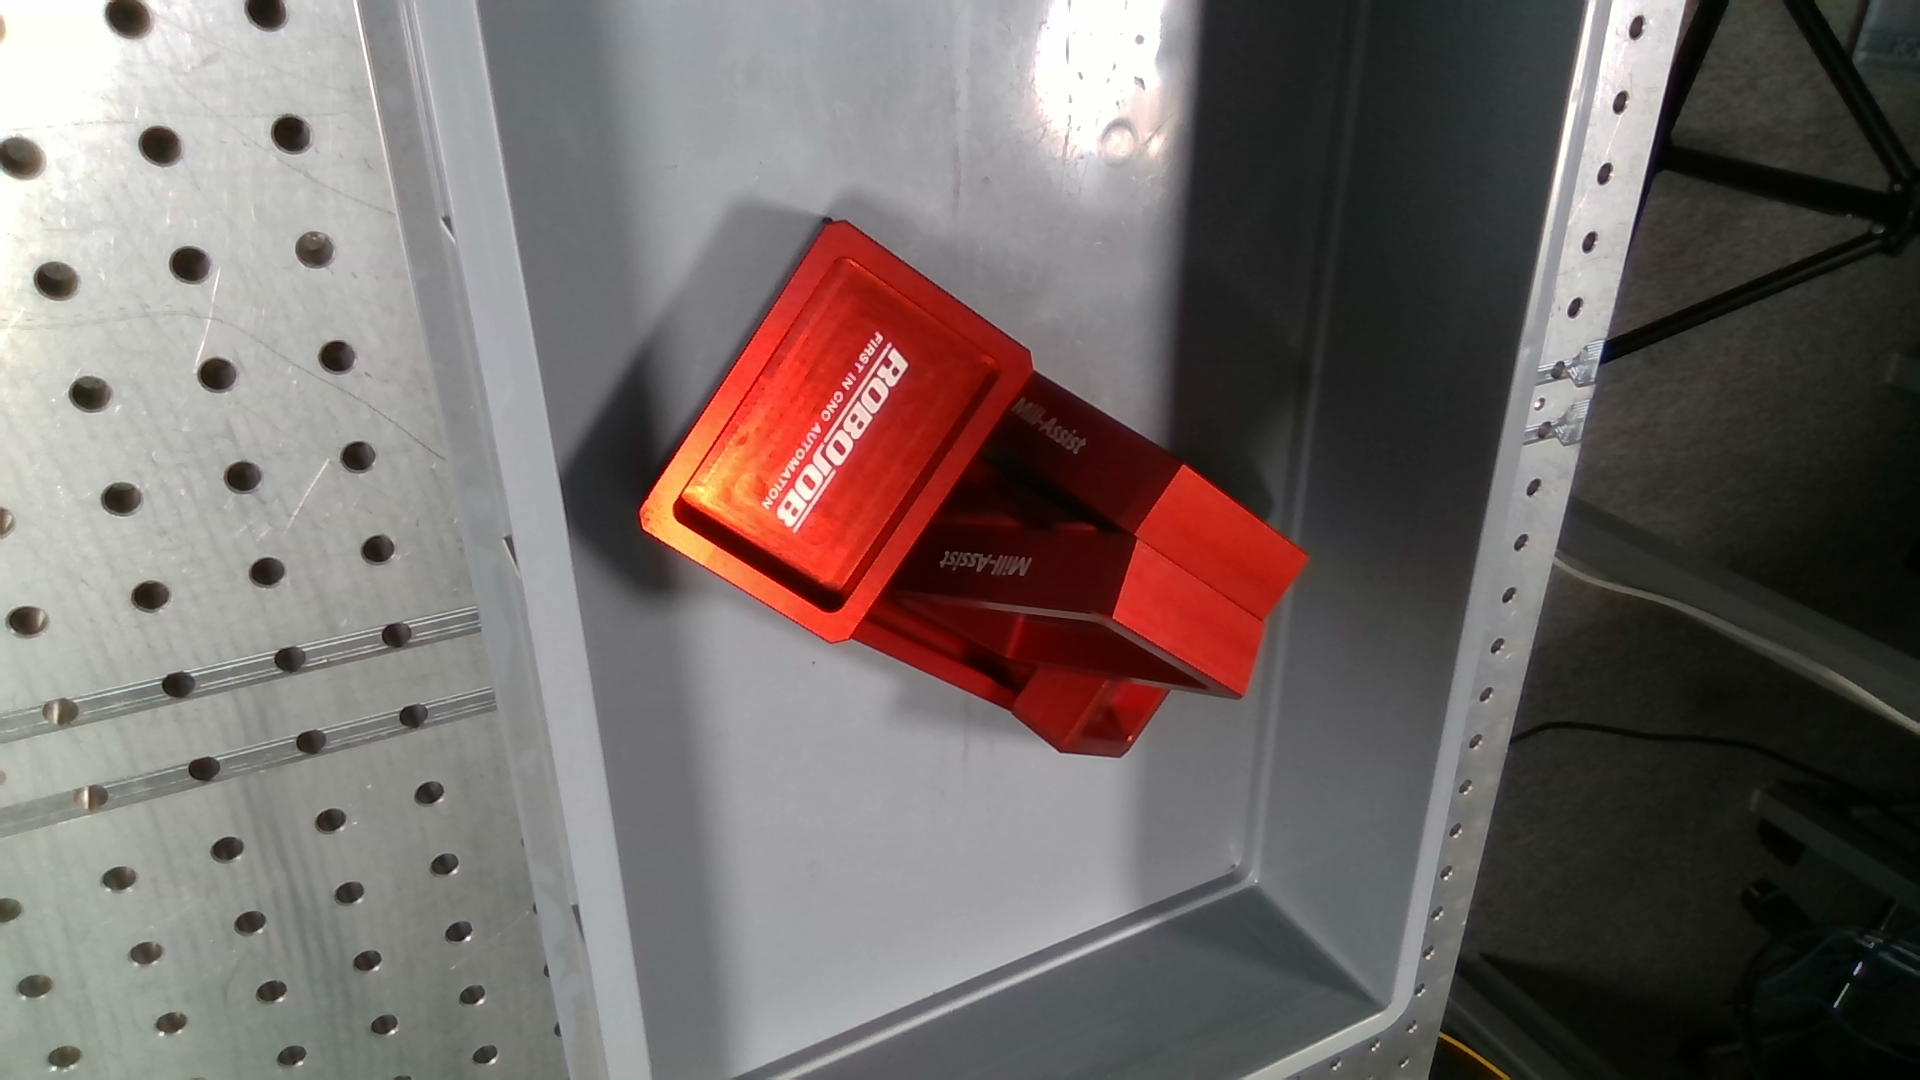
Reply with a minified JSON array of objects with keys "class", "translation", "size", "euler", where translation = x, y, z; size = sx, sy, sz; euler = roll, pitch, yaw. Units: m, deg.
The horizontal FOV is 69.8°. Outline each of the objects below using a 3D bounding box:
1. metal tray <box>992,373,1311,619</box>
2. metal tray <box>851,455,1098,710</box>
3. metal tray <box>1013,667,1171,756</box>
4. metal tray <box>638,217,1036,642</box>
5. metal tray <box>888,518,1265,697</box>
[{"class":"metal tray","translation":[0.064,-0.024,0.536],"size":[0.090,0.130,0.030],"euler":[30,96,-39]},{"class":"metal tray","translation":[0.001,0.012,0.582],"size":[0.130,0.030,0.090],"euler":[29,98,-39]},{"class":"metal tray","translation":[0.086,0.037,0.626],"size":[0.130,0.030,0.090],"euler":[-56,154,6]},{"class":"metal tray","translation":[-0.045,-0.040,0.504],"size":[0.090,0.030,0.130],"euler":[33,96,-15]},{"class":"metal tray","translation":[0.039,0.024,0.533],"size":[0.090,0.130,0.030],"euler":[30,73,-39]}]
